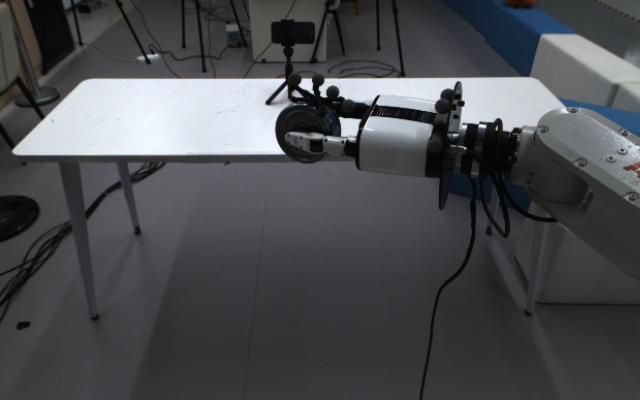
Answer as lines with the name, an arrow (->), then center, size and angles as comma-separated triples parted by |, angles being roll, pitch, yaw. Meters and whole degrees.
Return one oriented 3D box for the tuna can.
tuna can -> -0.016, -0.094, 0.656 | 0.085, 0.085, 0.034 | 15, 31, 18
